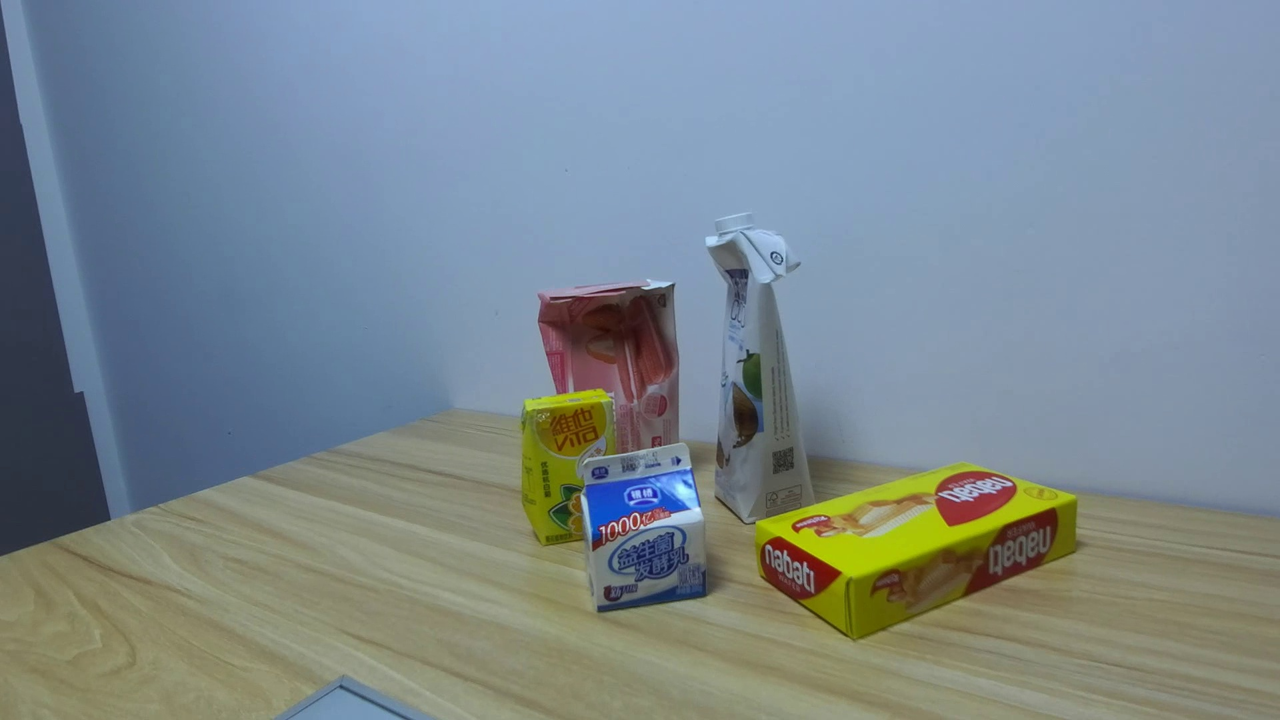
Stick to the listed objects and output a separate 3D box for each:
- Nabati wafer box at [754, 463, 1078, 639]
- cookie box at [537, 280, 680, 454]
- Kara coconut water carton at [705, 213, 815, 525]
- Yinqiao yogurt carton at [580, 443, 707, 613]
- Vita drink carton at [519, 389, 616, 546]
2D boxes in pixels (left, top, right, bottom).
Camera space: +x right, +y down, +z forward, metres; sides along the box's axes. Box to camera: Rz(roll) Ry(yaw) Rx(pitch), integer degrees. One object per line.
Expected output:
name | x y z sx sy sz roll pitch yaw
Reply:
Nabati wafer box | 0.186 0.118 0.473 0.204 0.042 0.092 -9 12 -25
cookie box | -0.024 0.025 0.635 0.119 0.184 0.055 -7 12 -11
Kara coconut water carton | 0.093 0.004 0.565 0.069 0.238 0.115 -8 12 -14
Yinqiao yogurt carton | 0.000 0.102 0.466 0.076 0.092 0.073 -7 14 -7
Vita drink carton | -0.055 0.082 0.548 0.076 0.109 0.043 -6 11 -11
